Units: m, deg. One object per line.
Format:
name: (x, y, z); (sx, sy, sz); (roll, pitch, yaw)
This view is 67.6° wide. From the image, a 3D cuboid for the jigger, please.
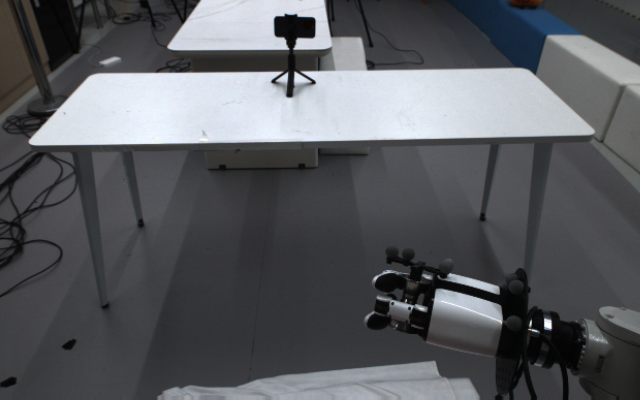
jigger: (0.120, 0.136, 0.639); (0.043, 0.071, 0.043); (14, 1, 0)
